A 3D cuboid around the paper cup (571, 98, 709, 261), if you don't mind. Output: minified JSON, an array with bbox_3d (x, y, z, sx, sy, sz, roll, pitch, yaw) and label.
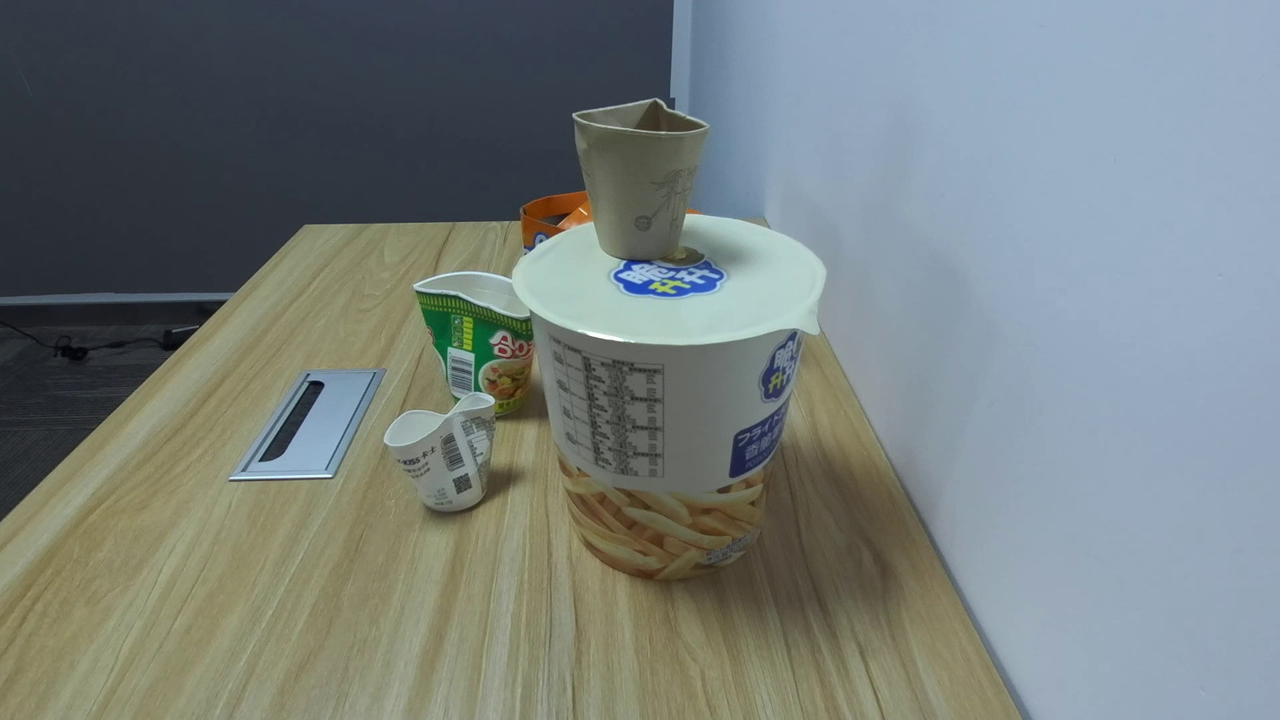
[{"bbox_3d":[-0.001,-0.110,0.439,0.066,0.084,0.071,-18,39,-26],"label":"paper cup"}]

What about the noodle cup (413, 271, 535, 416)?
[{"bbox_3d":[-0.137,-0.012,0.620,0.070,0.111,0.114,-26,40,-36],"label":"noodle cup"}]

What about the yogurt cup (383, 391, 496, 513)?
[{"bbox_3d":[-0.144,0.070,0.529,0.053,0.071,0.075,13,35,19],"label":"yogurt cup"}]

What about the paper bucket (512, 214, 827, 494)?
[{"bbox_3d":[0.019,0.024,0.481,0.198,0.195,0.198,0,32,0],"label":"paper bucket"}]
